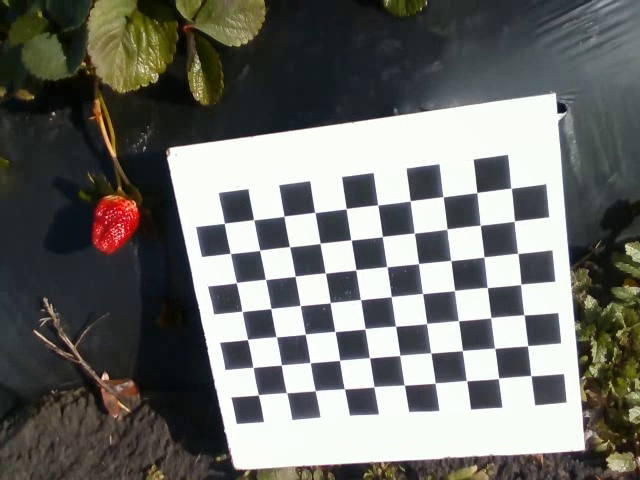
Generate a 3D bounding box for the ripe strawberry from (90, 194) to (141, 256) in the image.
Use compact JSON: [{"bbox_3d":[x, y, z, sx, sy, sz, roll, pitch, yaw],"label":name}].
[{"bbox_3d":[-0.059,-0.005,0.220,0.015,0.023,0.015,1,-36,10],"label":"ripe strawberry"}]
